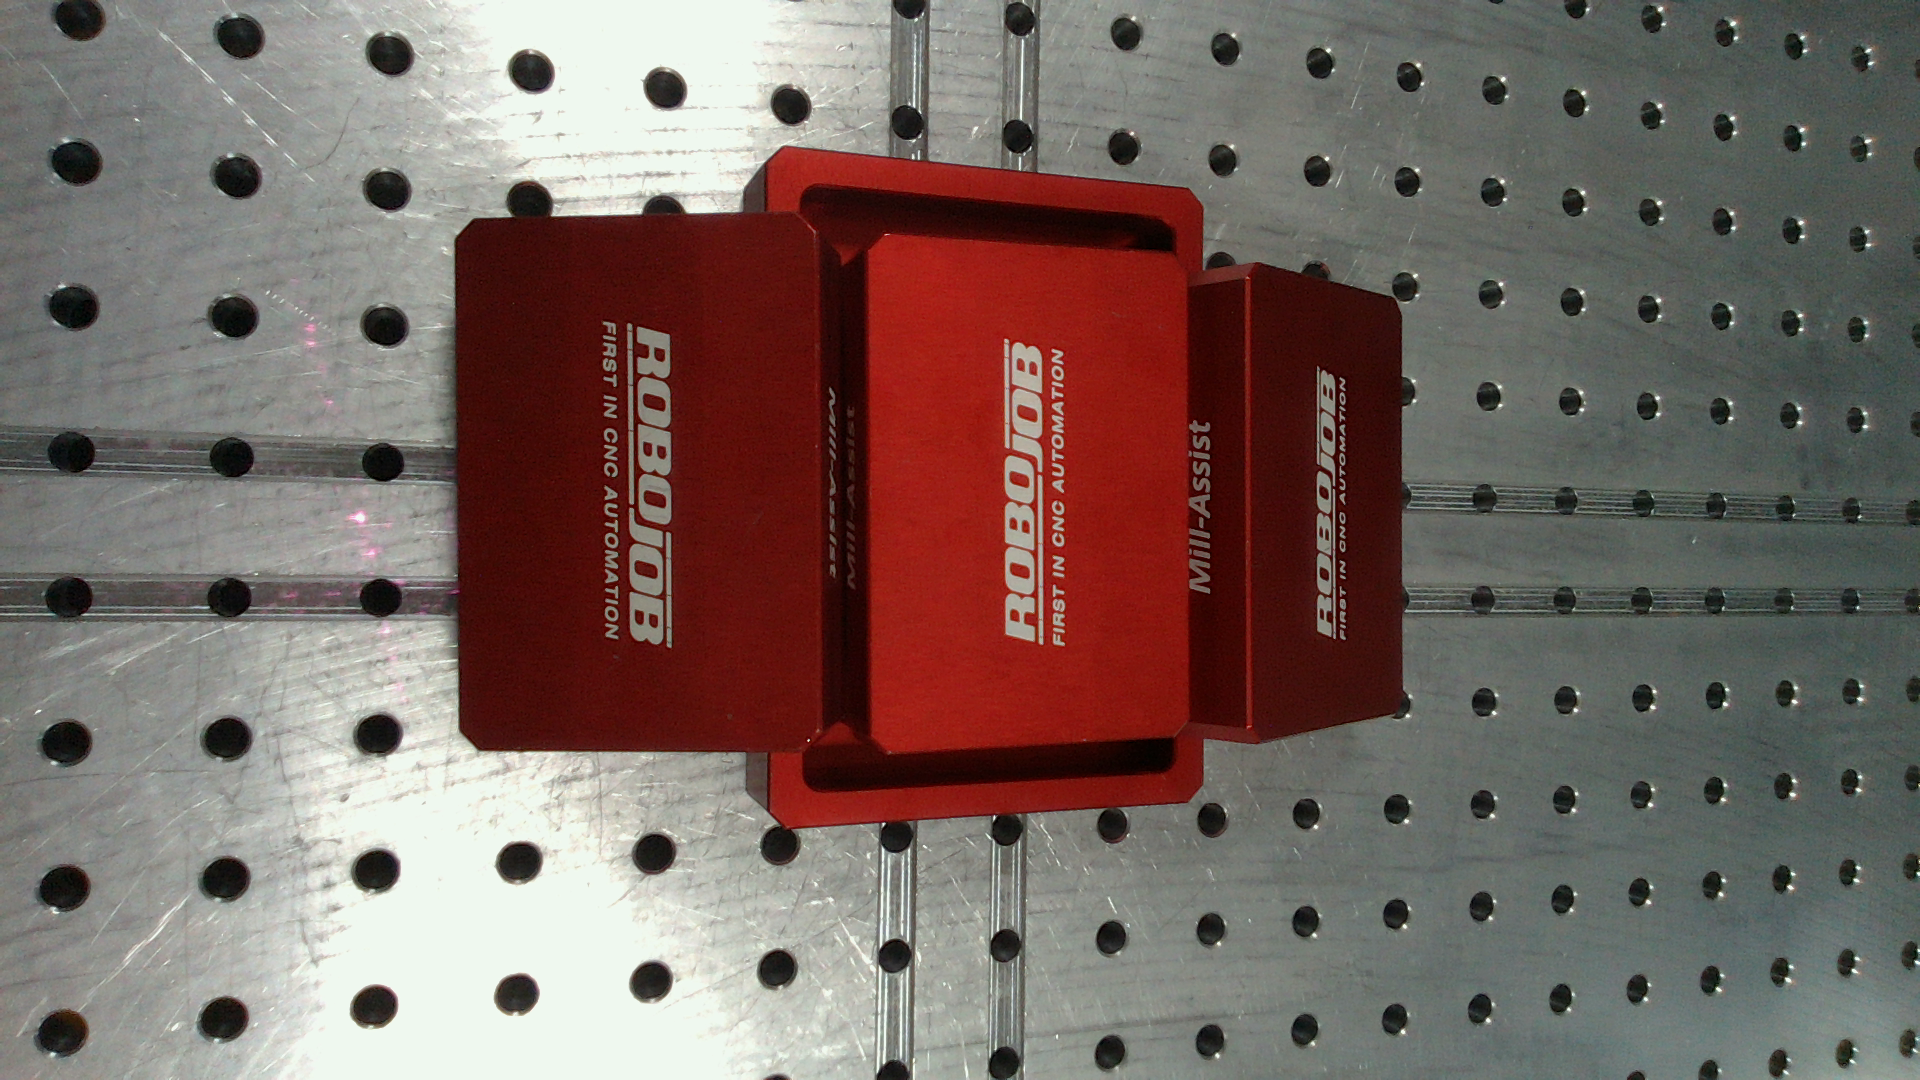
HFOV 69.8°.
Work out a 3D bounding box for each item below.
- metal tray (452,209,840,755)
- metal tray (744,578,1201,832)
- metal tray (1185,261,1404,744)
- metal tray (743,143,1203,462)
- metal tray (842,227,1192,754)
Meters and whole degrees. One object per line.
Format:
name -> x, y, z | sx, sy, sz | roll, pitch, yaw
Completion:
metal tray -> -0.078, -0.014, 0.346 | 0.090, 0.030, 0.130 | 0, 91, 6
metal tray -> 0.005, 0.032, 0.396 | 0.130, 0.030, 0.090 | 0, 90, -20
metal tray -> 0.098, -0.010, 0.409 | 0.090, 0.030, 0.130 | -1, 91, -47
metal tray -> 0.005, -0.059, 0.395 | 0.130, 0.030, 0.090 | 0, 90, -20
metal tray -> 0.015, -0.012, 0.366 | 0.090, 0.030, 0.130 | -1, 90, -20
